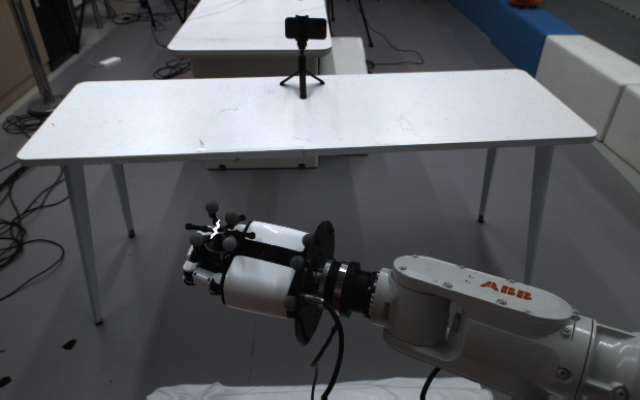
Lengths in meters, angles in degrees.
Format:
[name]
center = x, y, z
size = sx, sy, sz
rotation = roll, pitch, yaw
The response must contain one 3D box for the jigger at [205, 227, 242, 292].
[jigger]
center = -0.129, 0.082, 0.641
size = 0.043, 0.071, 0.043
rotation = 6, 32, -4
